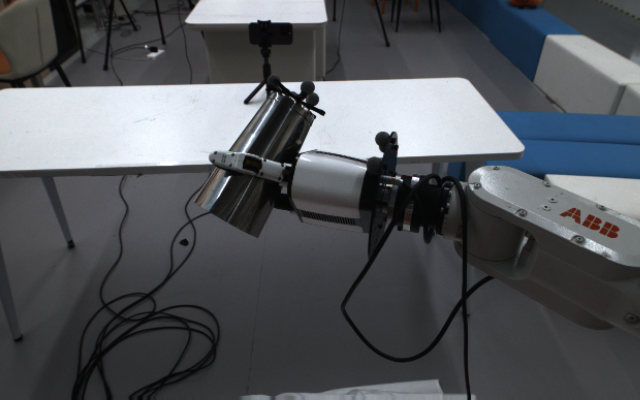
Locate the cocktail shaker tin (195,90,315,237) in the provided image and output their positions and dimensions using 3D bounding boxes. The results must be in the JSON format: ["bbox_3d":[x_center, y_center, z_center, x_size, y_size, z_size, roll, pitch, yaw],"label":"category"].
[{"bbox_3d":[-0.078,-0.050,0.617,0.093,0.093,0.170,26,83,30],"label":"cocktail shaker tin"}]
